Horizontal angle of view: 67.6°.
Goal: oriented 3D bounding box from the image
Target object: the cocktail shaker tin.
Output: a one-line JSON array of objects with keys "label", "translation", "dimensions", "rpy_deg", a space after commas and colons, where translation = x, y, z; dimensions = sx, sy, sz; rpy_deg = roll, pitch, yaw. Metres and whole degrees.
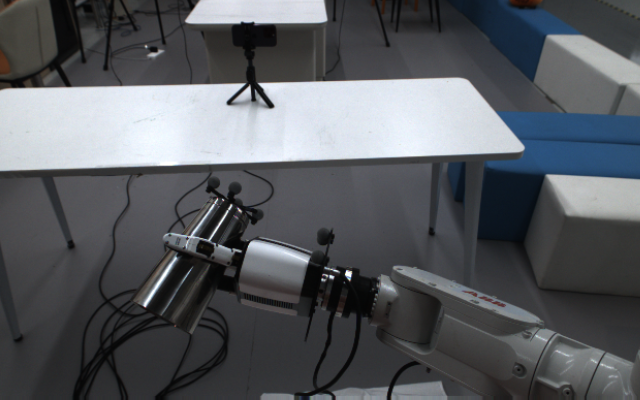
[{"label": "cocktail shaker tin", "translation": [-0.165, 0.079, 0.651], "dimensions": [0.093, 0.093, 0.170], "rpy_deg": [18, 66, 22]}]
